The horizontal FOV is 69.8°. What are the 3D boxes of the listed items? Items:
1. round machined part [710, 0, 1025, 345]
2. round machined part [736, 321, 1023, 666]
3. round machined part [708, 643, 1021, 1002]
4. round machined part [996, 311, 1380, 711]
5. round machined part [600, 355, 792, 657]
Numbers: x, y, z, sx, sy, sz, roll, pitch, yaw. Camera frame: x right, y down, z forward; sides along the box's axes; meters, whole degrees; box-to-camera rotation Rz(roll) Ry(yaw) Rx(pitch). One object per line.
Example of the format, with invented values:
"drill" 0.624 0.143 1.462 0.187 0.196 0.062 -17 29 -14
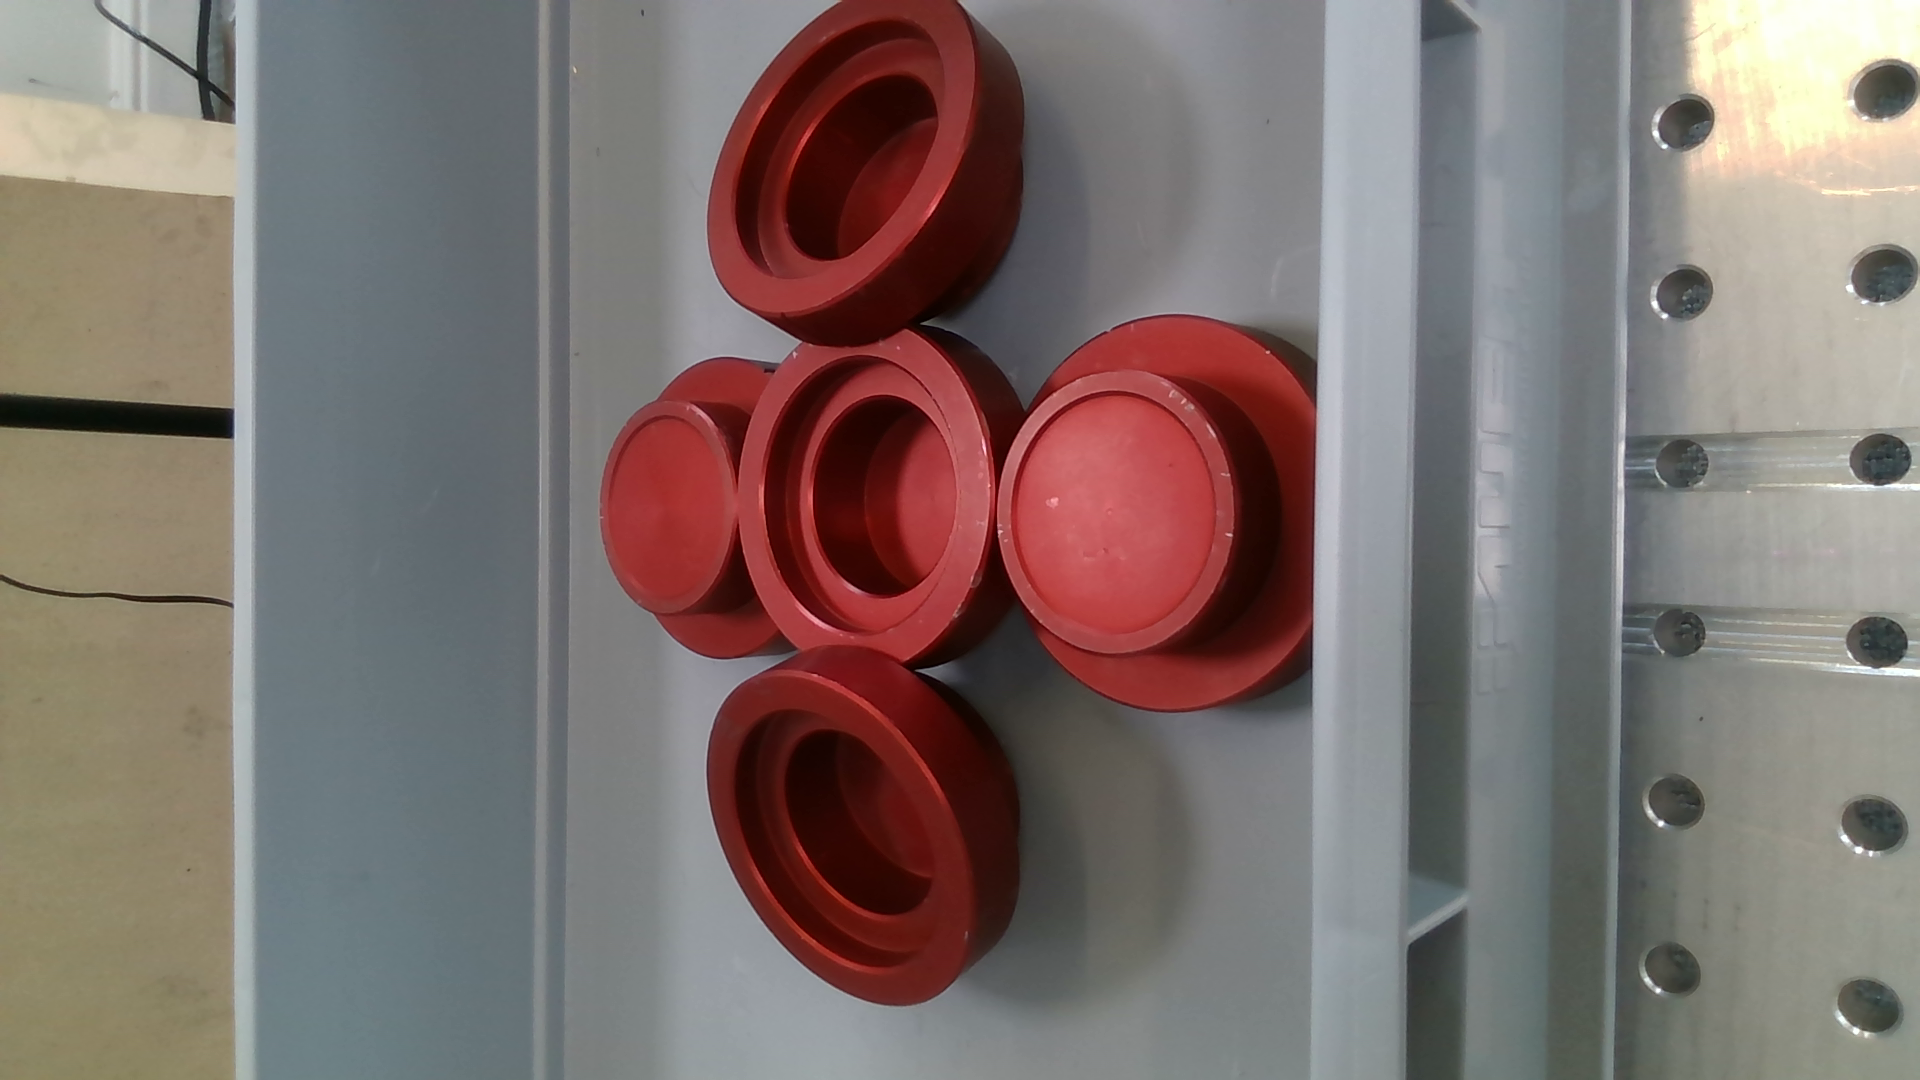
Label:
"round machined part" -0.021 -0.099 0.384 0.098 0.042 0.098 -16 63 35
"round machined part" -0.016 -0.012 0.391 0.098 0.042 0.098 0 91 40
"round machined part" -0.022 0.075 0.387 0.098 0.042 0.098 16 117 35
"round machined part" 0.048 -0.007 0.338 0.098 0.042 0.098 0 91 40
"round machined part" -0.079 -0.011 0.445 0.098 0.042 0.098 0 91 40
